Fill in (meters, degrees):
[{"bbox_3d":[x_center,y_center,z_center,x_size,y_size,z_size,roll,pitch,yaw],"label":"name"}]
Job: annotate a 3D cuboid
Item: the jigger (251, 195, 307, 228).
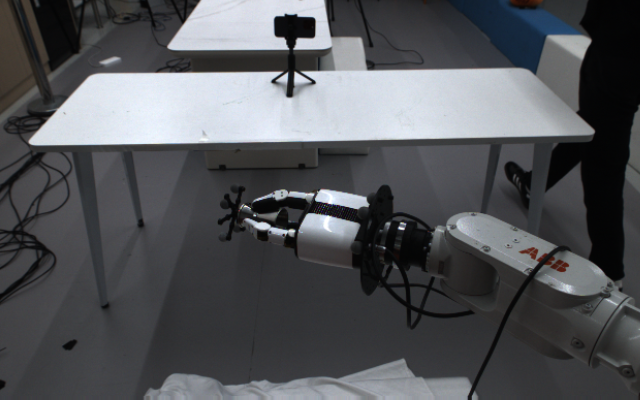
[{"bbox_3d":[-0.084,0.027,0.753,0.071,0.043,0.043,10,35,22],"label":"jigger"}]
